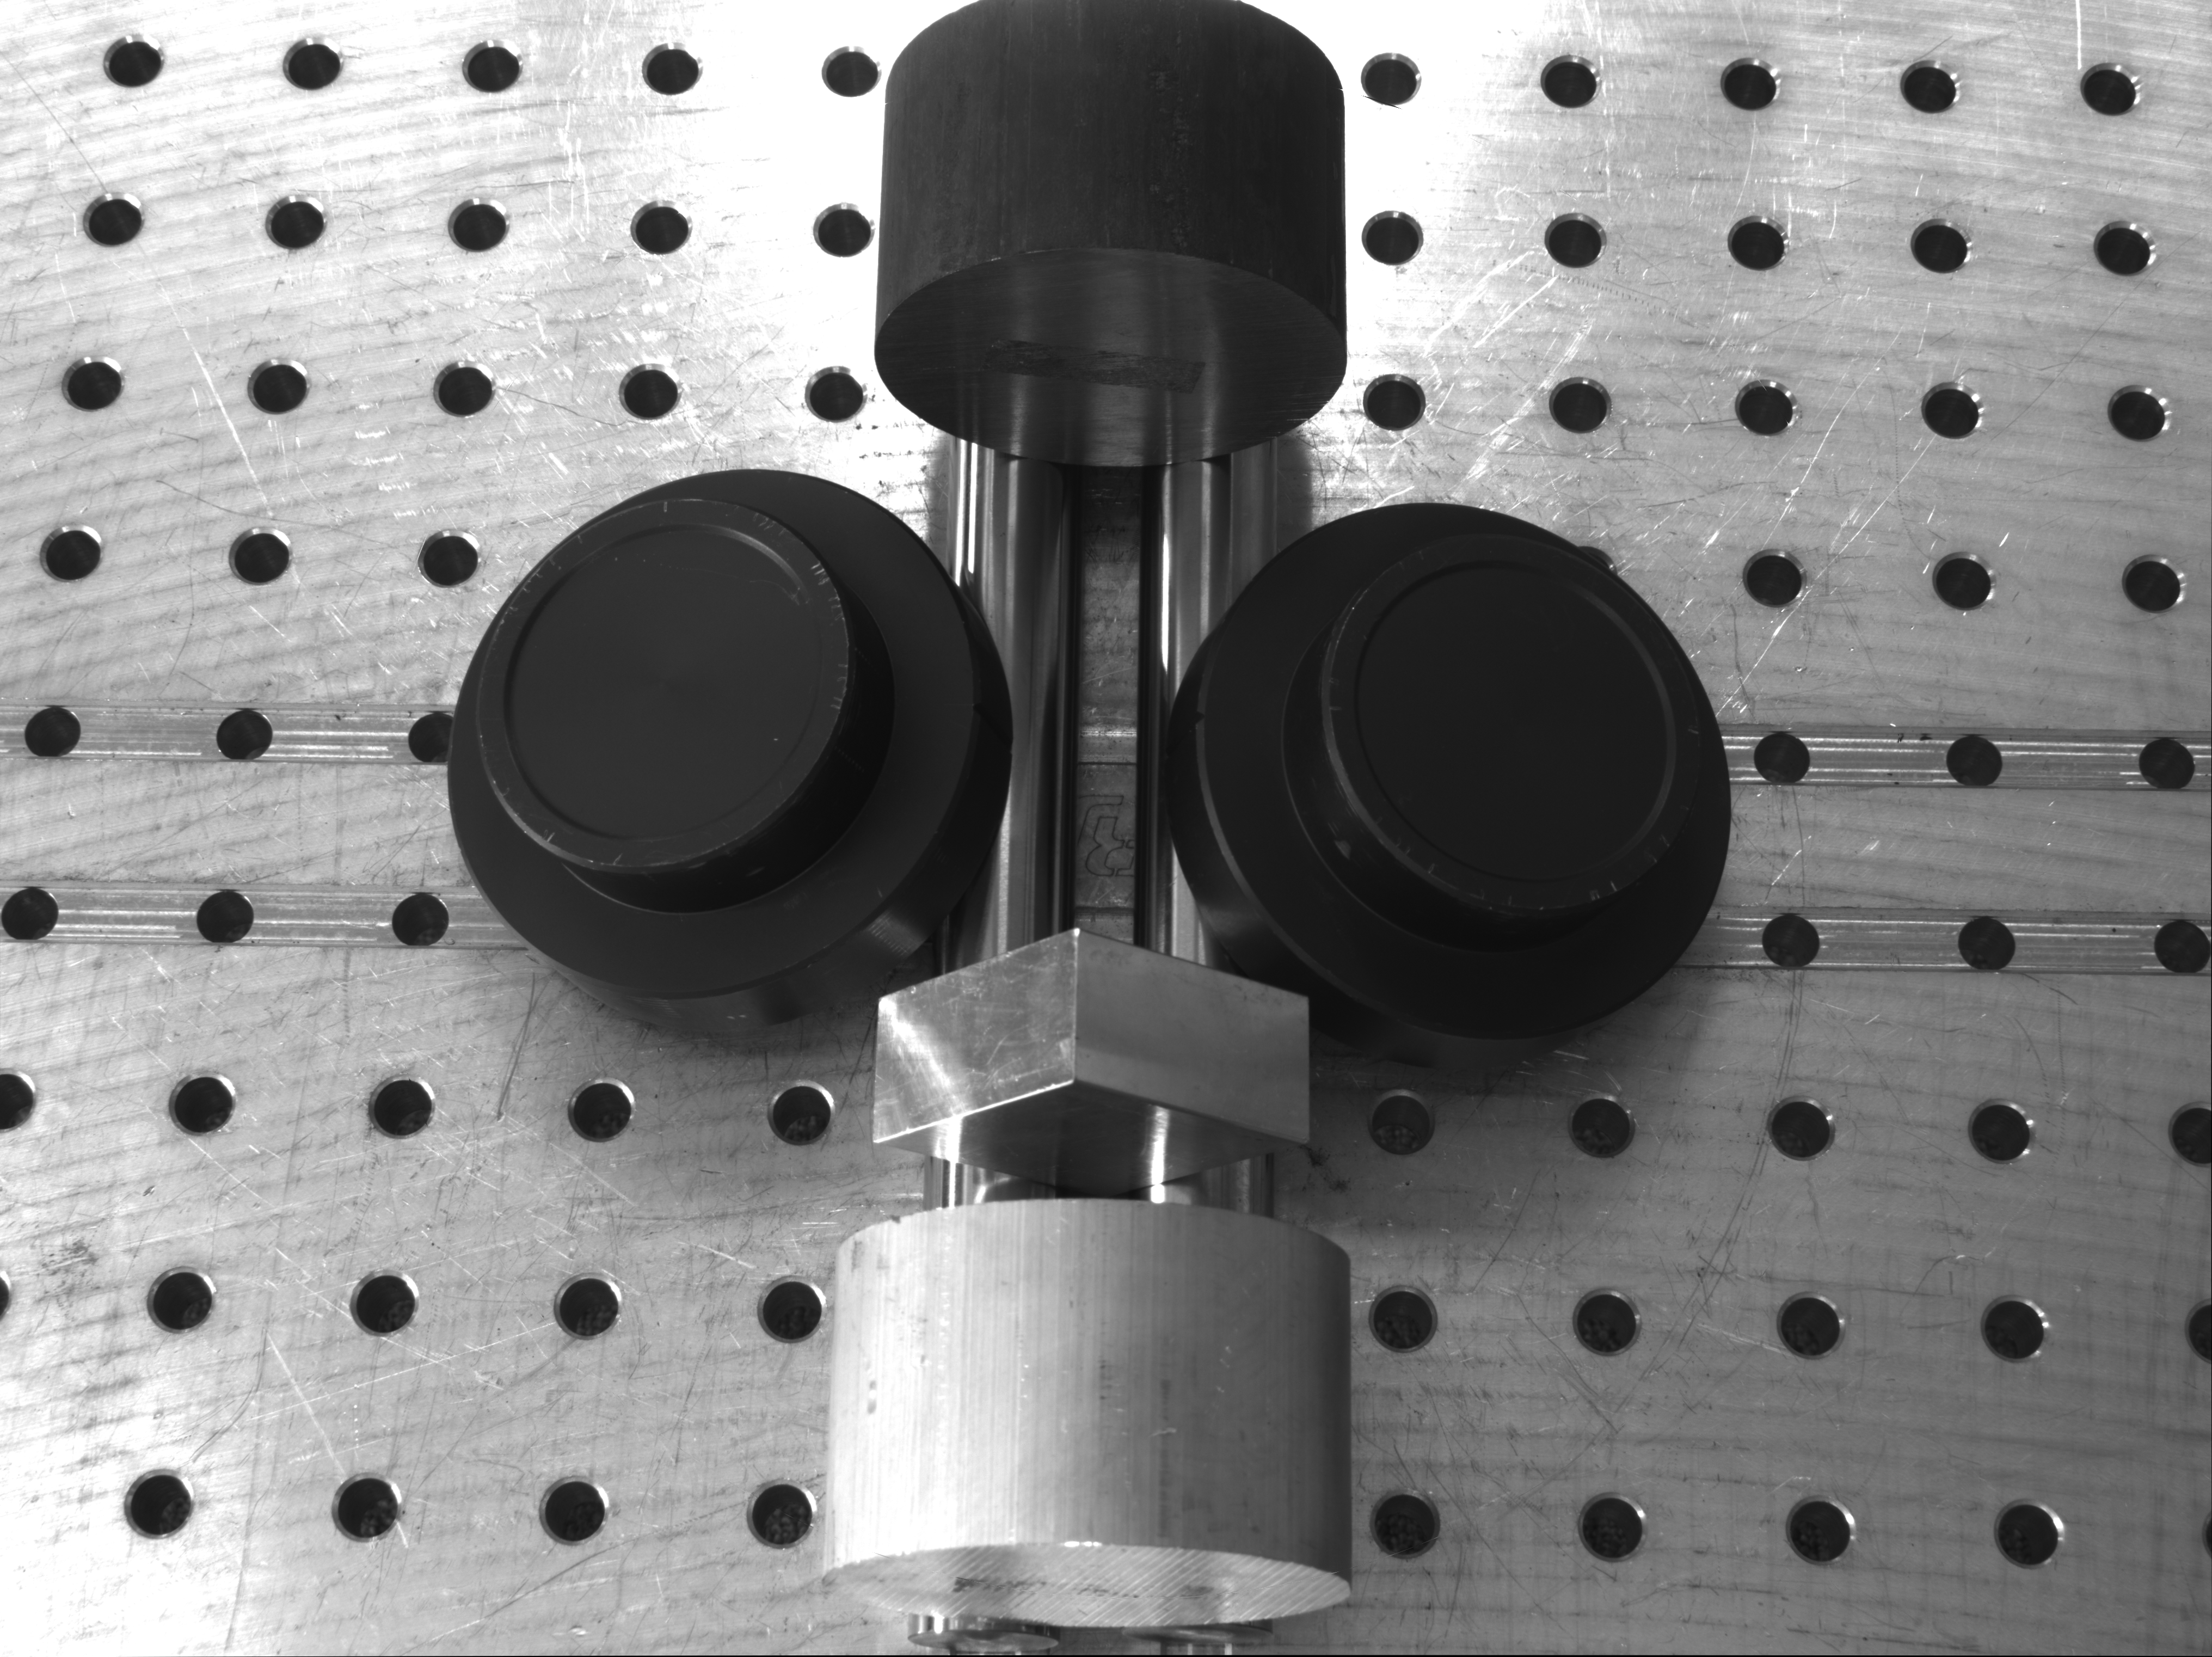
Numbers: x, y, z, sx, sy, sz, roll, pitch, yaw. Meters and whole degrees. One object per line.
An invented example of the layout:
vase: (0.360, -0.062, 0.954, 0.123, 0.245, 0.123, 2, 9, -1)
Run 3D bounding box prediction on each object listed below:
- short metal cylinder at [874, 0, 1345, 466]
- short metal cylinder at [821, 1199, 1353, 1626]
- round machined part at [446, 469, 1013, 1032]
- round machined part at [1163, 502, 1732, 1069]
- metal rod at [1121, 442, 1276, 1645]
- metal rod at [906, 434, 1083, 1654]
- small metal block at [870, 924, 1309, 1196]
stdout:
short metal cylinder: (0.001, -0.103, 0.632, 0.080, 0.080, 0.050, 1, 70, 0)
short metal cylinder: (-0.002, 0.091, 0.561, 0.080, 0.080, 0.050, 1, 70, 0)
round machined part: (-0.069, -0.018, 0.631, 0.098, 0.042, 0.098, -5, 69, 13)
round machined part: (0.062, -0.011, 0.628, 0.098, 0.042, 0.098, 5, 69, -14)
metal rod: (0.018, -0.009, 0.650, 0.025, 0.025, 0.300, 1, 70, 0)
metal rod: (-0.018, -0.008, 0.649, 0.025, 0.025, 0.300, 1, 70, 0)
small metal block: (-0.003, 0.039, 0.595, 0.050, 0.050, 0.025, 18, 64, -38)
